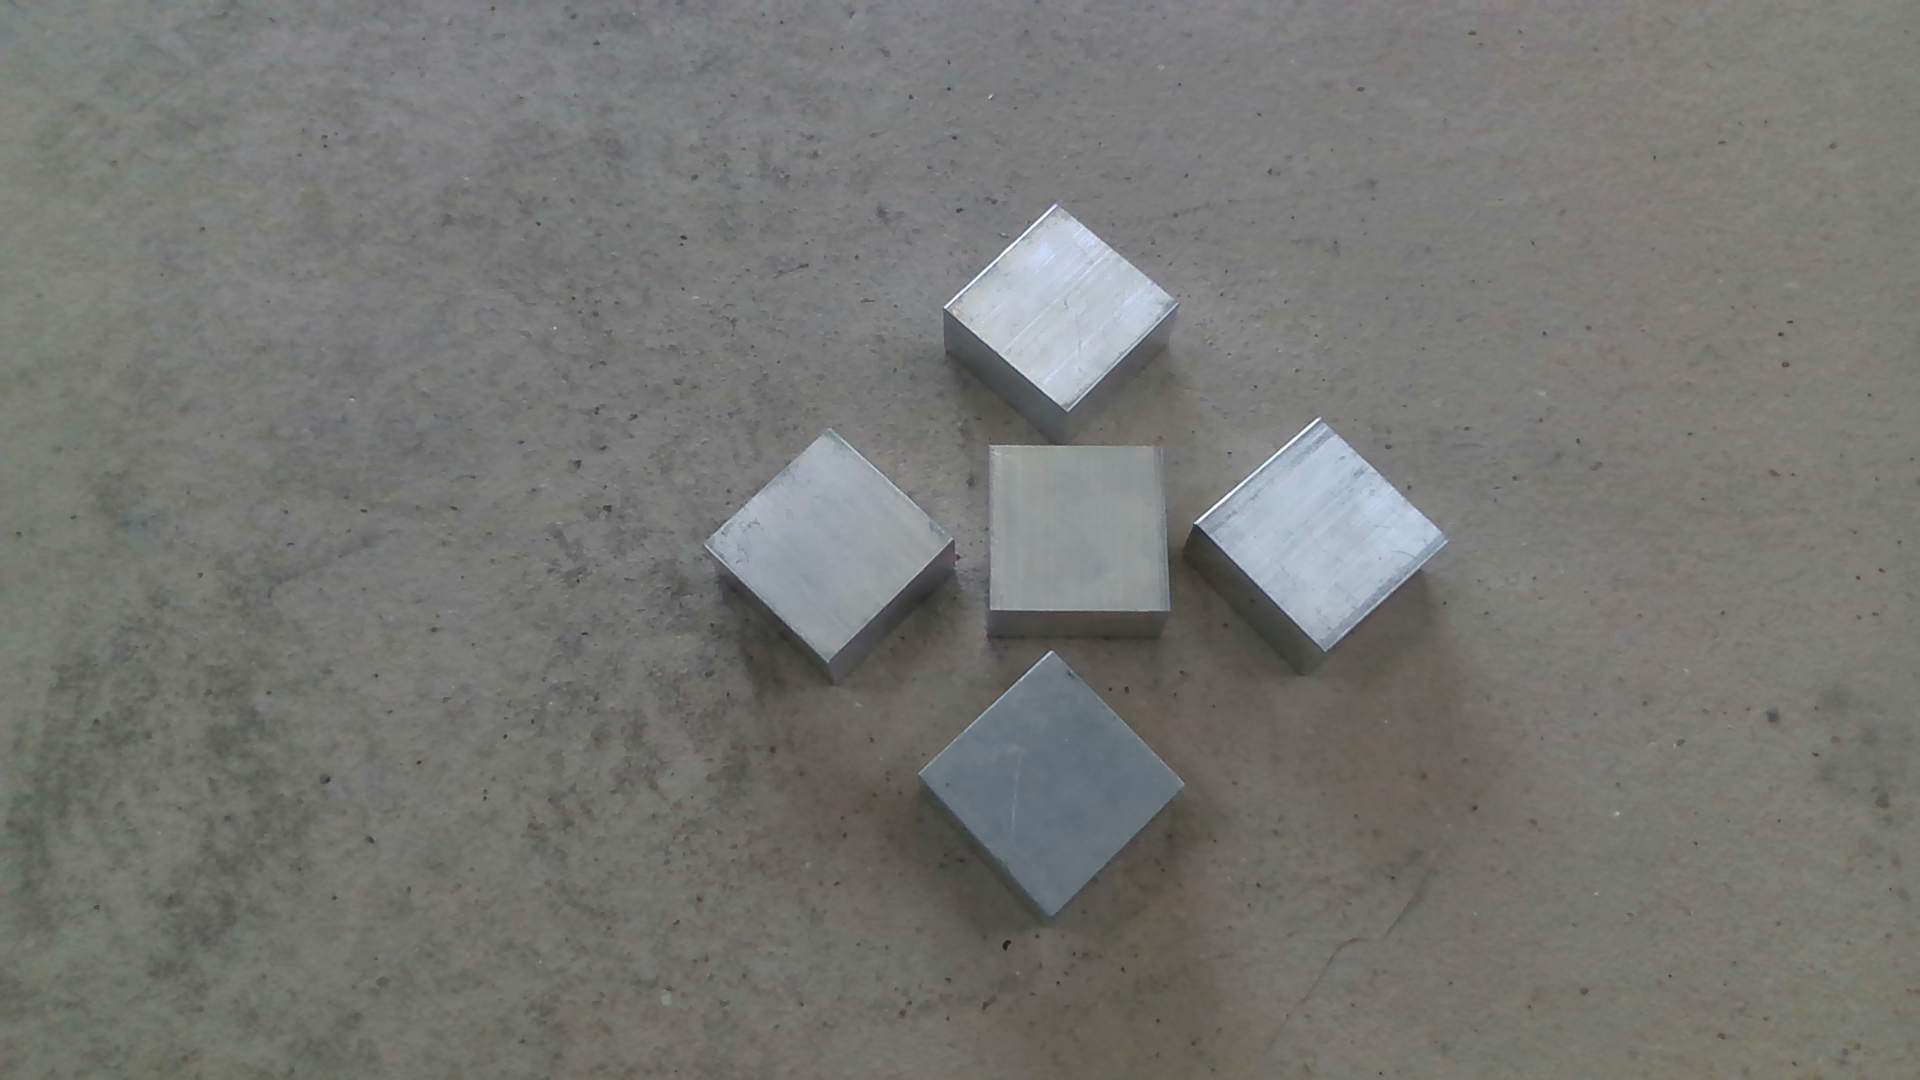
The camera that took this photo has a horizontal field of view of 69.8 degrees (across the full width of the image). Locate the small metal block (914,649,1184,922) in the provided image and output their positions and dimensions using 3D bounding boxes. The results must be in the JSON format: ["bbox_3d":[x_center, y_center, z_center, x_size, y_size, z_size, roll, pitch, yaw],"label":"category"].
[{"bbox_3d":[0.023,0.067,0.372,0.050,0.025,0.050,-42,75,-13],"label":"small metal block"}]

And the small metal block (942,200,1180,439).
[{"bbox_3d":[0.030,-0.066,0.419,0.050,0.025,0.050,42,76,12],"label":"small metal block"}]

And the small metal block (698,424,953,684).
[{"bbox_3d":[-0.037,0.004,0.394,0.050,0.025,0.050,42,76,13],"label":"small metal block"}]

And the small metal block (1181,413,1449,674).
[{"bbox_3d":[0.100,0.001,0.394,0.050,0.025,0.050,-39,75,-13],"label":"small metal block"}]

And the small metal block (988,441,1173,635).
[{"bbox_3d":[0.033,0.000,0.395,0.050,0.025,0.050,0,70,0],"label":"small metal block"}]
